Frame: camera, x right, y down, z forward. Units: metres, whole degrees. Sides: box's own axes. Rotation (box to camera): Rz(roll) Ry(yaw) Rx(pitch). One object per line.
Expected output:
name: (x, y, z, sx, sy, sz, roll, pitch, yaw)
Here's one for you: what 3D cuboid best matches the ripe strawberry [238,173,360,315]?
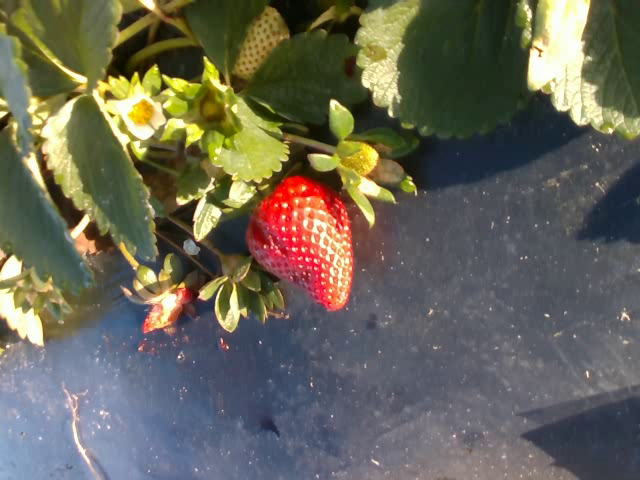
ripe strawberry: (-0.006, 0.007, 0.236, 0.041, 0.052, 0.052, -7, -28, -35)
